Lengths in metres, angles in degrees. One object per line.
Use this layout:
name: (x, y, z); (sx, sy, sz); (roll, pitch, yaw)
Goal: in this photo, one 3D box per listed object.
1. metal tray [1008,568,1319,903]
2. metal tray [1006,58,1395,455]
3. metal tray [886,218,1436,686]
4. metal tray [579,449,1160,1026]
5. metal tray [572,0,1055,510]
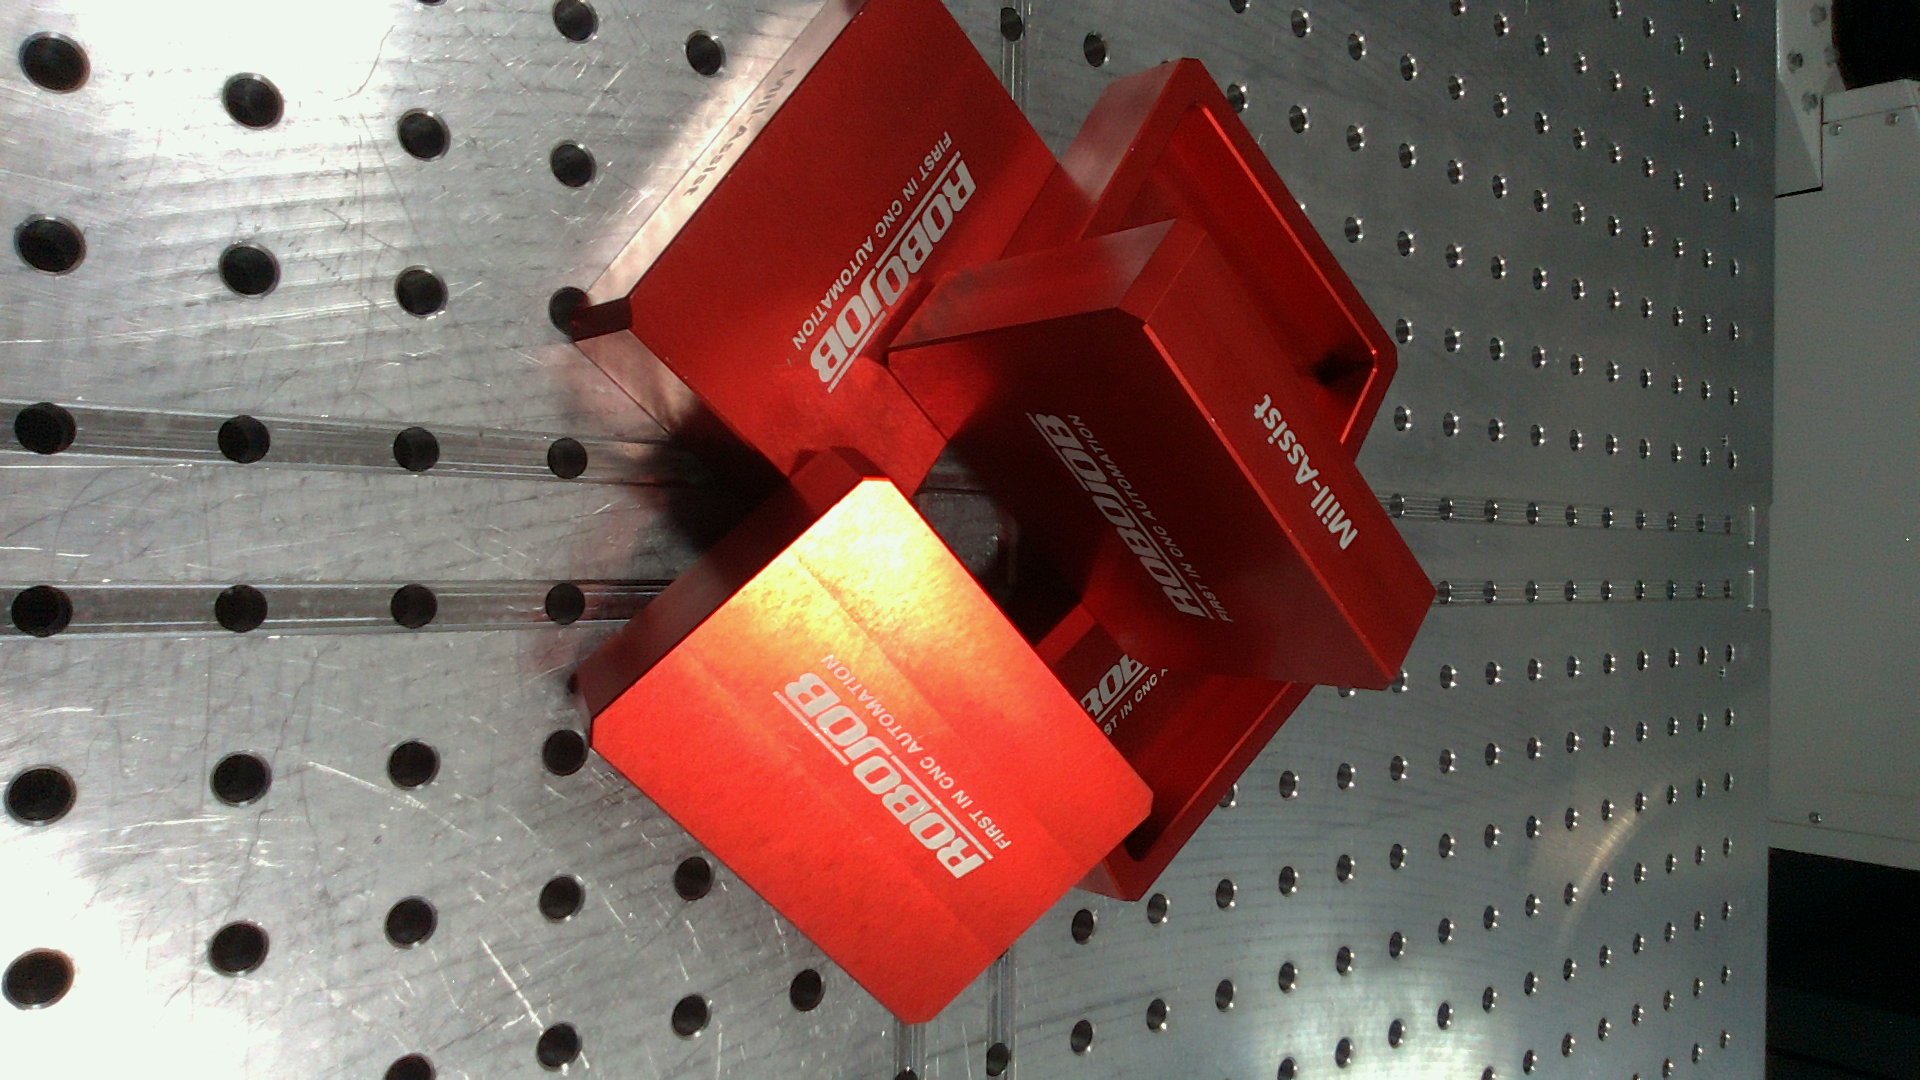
metal tray: (0.065, 0.038, 0.441); (0.130, 0.030, 0.090); (-41, 115, -32)
metal tray: (0.074, -0.063, 0.411); (0.130, 0.030, 0.090); (44, 64, -31)
metal tray: (0.052, -0.016, 0.353); (0.130, 0.090, 0.030); (48, 62, -29)
metal tray: (-0.019, 0.053, 0.349); (0.090, 0.030, 0.130); (-42, 118, -4)
metal tray: (-0.028, -0.073, 0.364); (0.090, 0.030, 0.130); (46, 63, -30)
